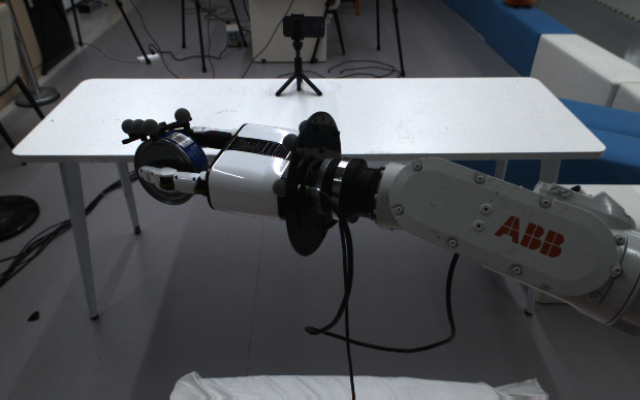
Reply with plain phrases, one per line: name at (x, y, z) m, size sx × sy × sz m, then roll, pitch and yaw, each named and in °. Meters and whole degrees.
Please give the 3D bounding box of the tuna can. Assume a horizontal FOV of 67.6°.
tuna can at (-0.175, -0.037, 0.588) m, size 0.085 × 0.085 × 0.034 m, roll 13°, pitch 28°, yaw 15°
